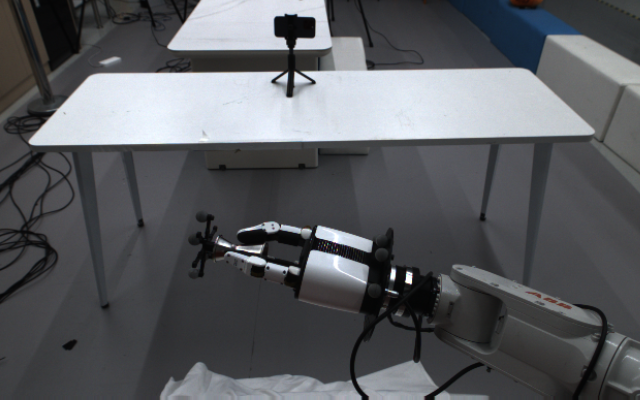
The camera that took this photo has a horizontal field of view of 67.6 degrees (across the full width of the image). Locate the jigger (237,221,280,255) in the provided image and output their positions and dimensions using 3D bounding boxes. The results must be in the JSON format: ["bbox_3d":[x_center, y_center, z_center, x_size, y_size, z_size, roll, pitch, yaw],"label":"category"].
[{"bbox_3d":[-0.103,0.071,0.674,0.071,0.043,0.043,9,35,3],"label":"jigger"}]
